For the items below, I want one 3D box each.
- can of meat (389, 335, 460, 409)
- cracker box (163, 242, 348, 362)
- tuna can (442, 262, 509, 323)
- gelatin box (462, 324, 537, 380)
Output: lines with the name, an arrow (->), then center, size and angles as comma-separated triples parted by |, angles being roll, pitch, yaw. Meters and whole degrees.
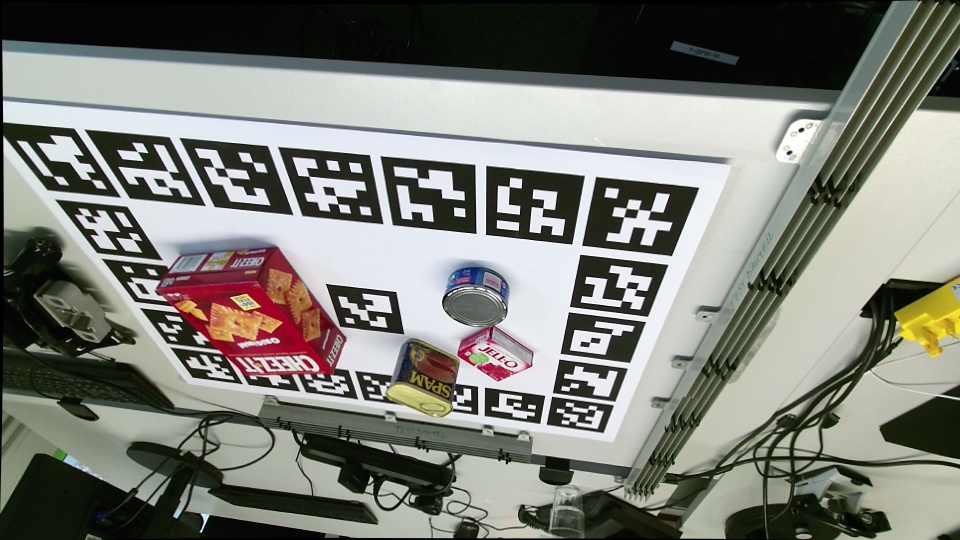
can of meat -> -0.084, 0.159, 0.845 | 0.102, 0.083, 0.058 | 26, 137, -17
cracker box -> -0.324, 0.059, 0.794 | 0.165, 0.071, 0.214 | -4, 138, 19
tuna can -> -0.005, 0.030, 0.706 | 0.086, 0.033, 0.086 | 5, 135, 6
gelatin box -> 0.030, 0.126, 0.811 | 0.089, 0.030, 0.073 | 37, 135, -23
